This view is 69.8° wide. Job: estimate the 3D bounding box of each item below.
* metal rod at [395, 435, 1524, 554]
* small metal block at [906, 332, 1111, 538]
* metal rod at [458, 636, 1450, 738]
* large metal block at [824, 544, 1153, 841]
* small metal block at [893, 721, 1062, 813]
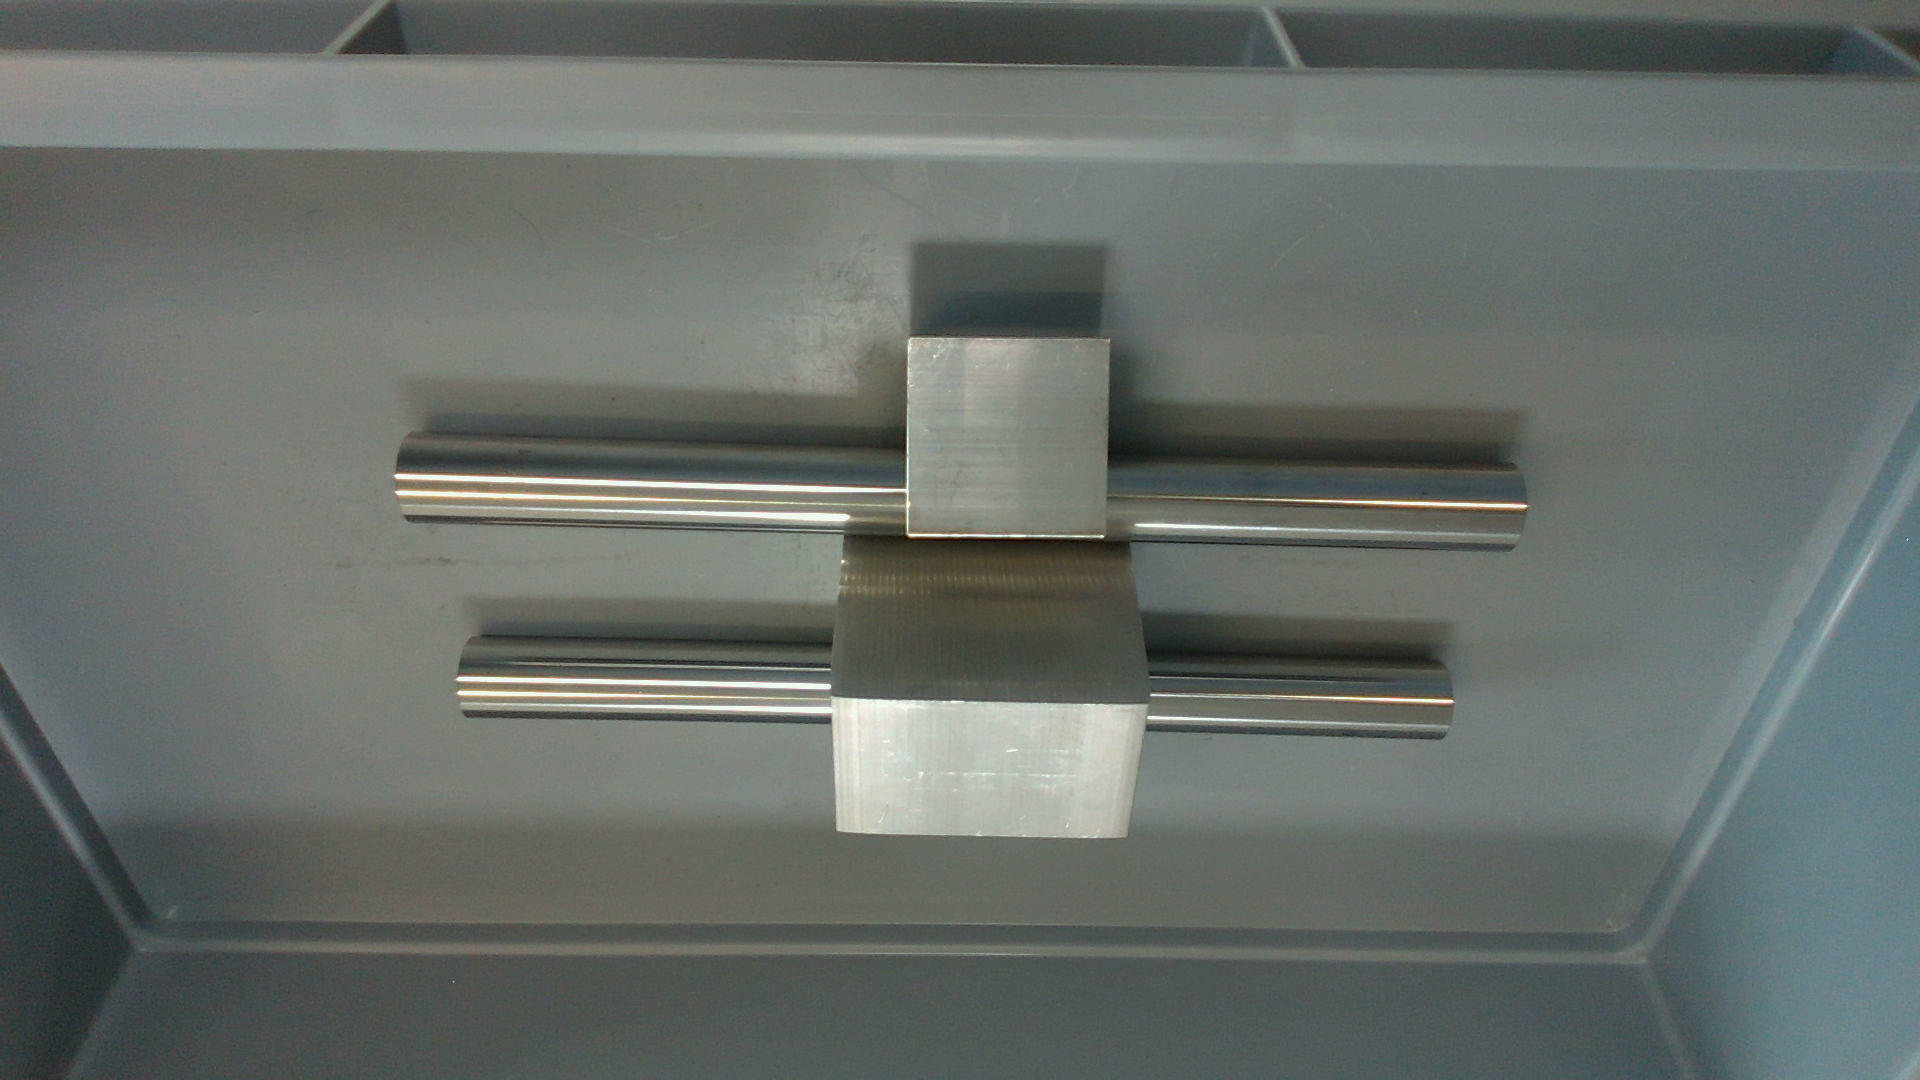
[{"bbox_3d":[0.001,-0.012,0.378,0.300,0.025,0.025,1,130,-2],"label":"metal rod"},{"bbox_3d":[0.012,-0.027,0.351,0.050,0.025,0.050,1,96,-1],"label":"small metal block"},{"bbox_3d":[0.000,0.046,0.428,0.300,0.025,0.025,1,130,-2],"label":"metal rod"},{"bbox_3d":[0.006,0.035,0.381,0.080,0.080,0.050,1,130,-1],"label":"large metal block"},{"bbox_3d":[0.004,0.072,0.435,0.050,0.025,0.050,2,168,-2],"label":"small metal block"}]
